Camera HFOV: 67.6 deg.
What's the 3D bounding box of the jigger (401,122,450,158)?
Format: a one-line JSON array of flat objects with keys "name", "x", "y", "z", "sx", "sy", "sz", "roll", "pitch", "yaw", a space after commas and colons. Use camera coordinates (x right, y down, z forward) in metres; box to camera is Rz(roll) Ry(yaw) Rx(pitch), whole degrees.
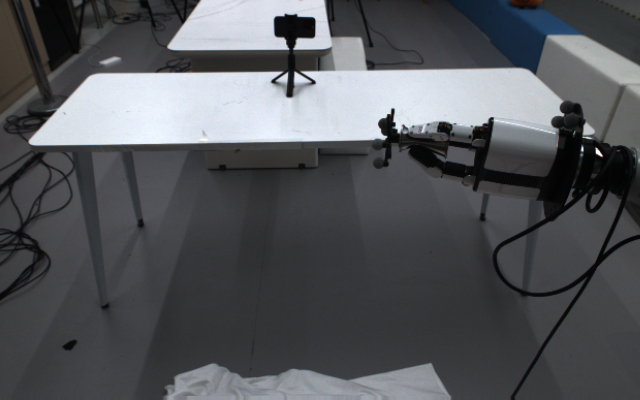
[{"name": "jigger", "x": 0.157, "y": -0.090, "z": 0.696, "sx": 0.071, "sy": 0.043, "sz": 0.043, "roll": 8, "pitch": 35, "yaw": 15}]
